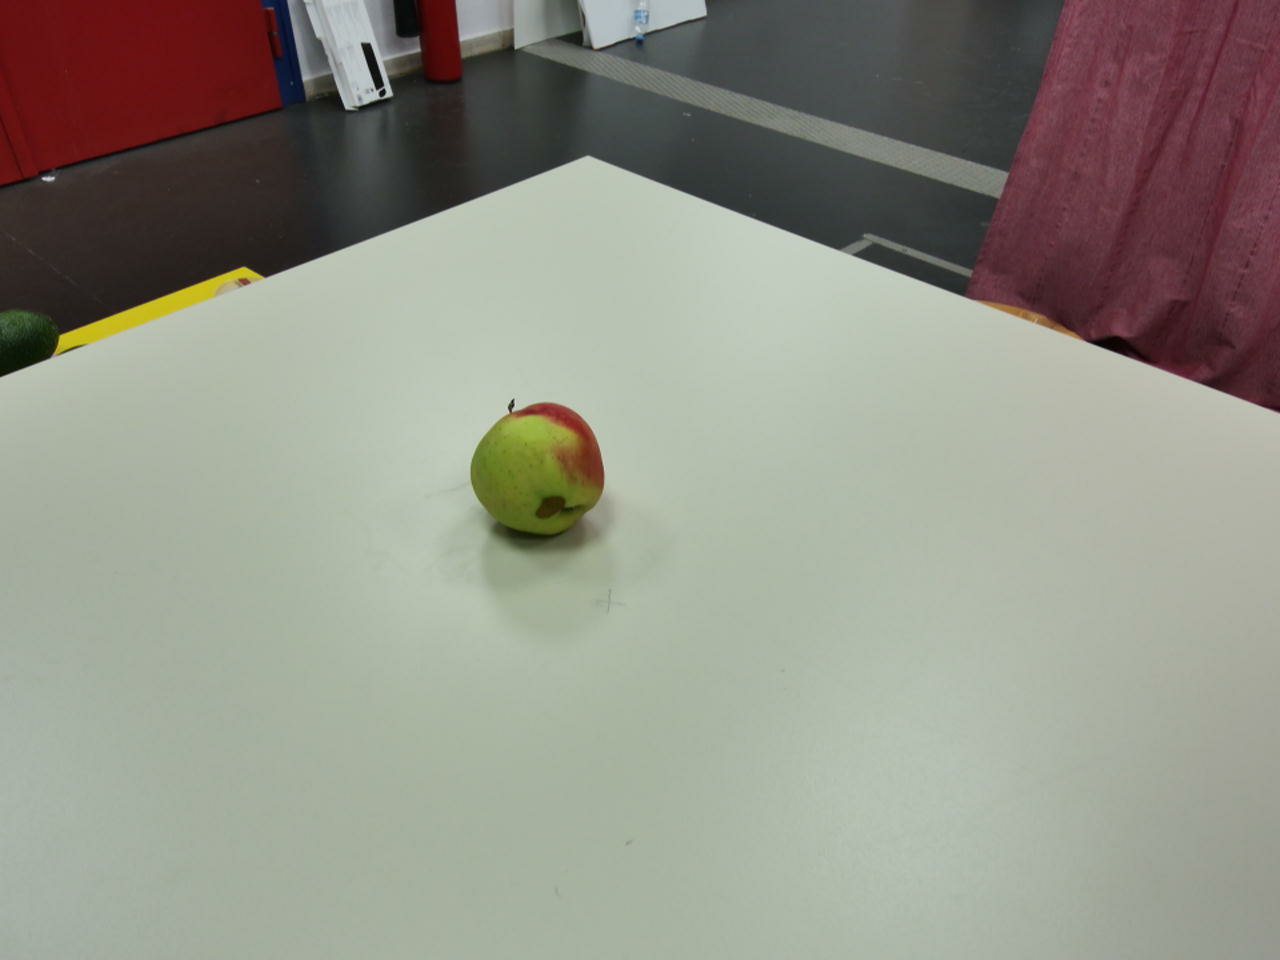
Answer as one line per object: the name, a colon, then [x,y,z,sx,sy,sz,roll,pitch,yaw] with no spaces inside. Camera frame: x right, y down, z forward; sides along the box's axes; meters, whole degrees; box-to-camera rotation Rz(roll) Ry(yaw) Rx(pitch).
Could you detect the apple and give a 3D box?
apple: [-0.057,-0.007,0.576,0.075,0.074,0.075,15,39,17]
